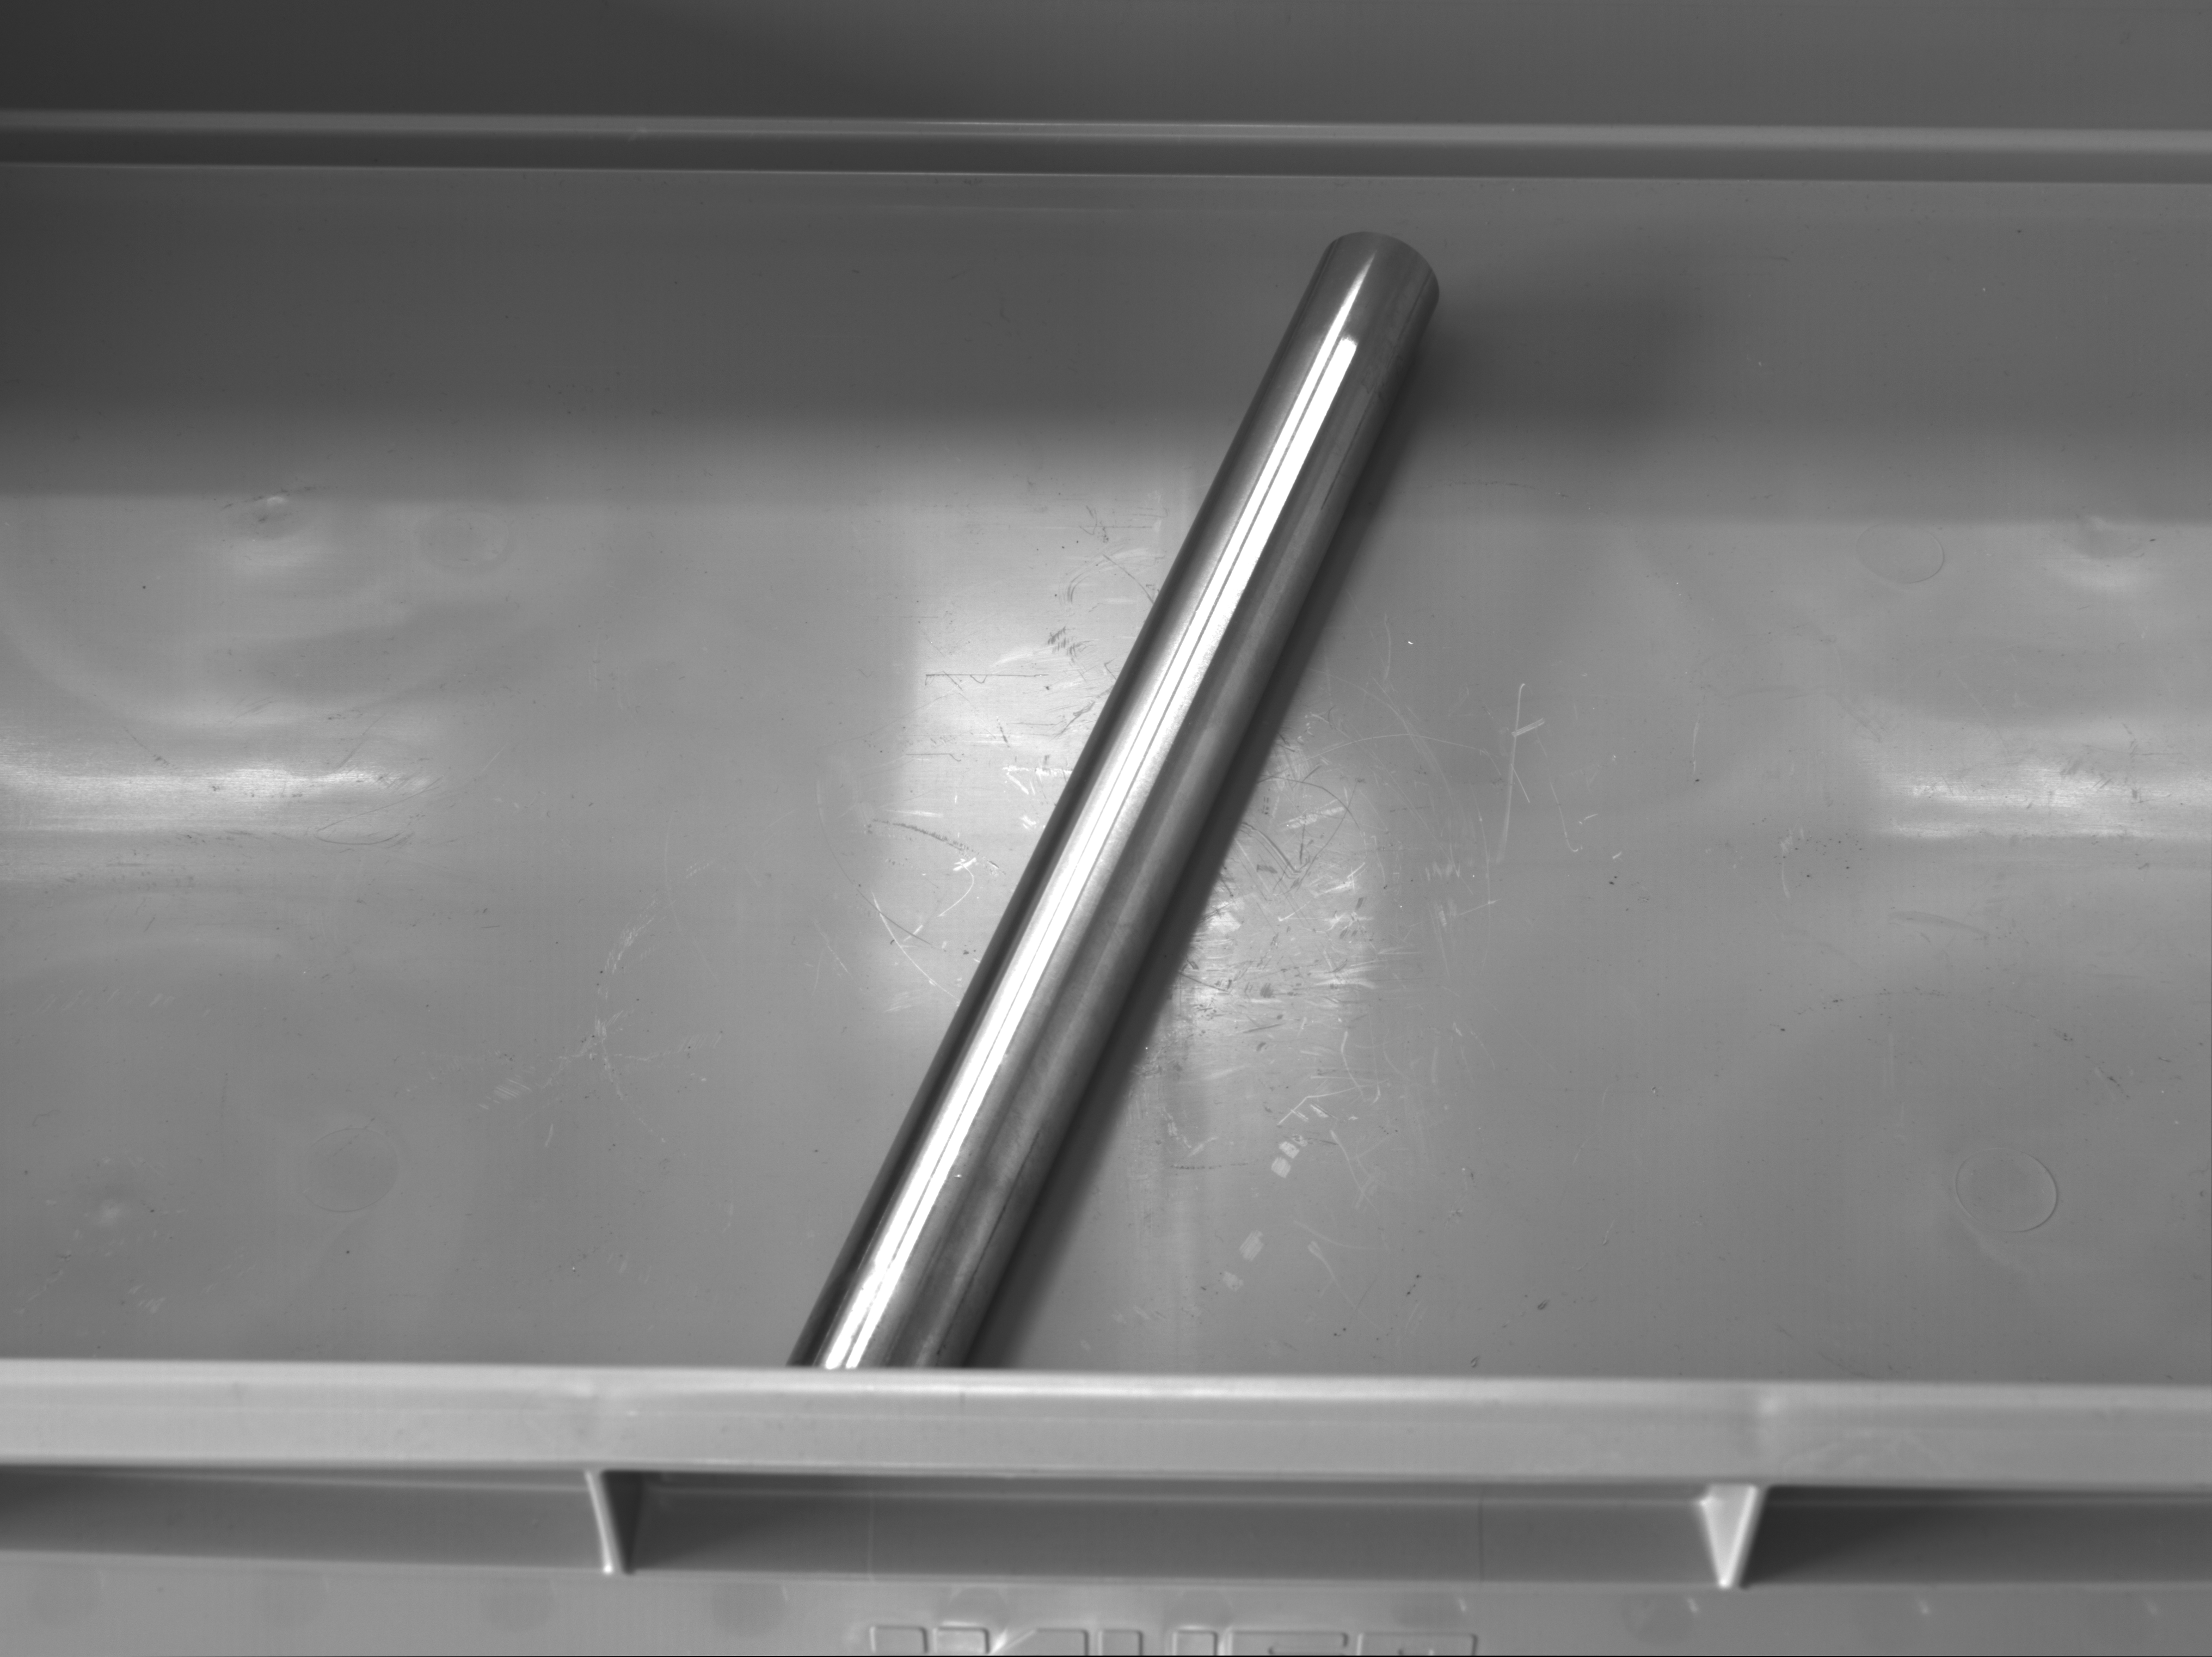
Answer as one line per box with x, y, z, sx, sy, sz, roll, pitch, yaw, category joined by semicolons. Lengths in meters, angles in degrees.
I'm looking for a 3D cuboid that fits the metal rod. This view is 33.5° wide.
0.002;-0.001;0.641;0.025;0.025;0.300;15;52;13;metal rod
